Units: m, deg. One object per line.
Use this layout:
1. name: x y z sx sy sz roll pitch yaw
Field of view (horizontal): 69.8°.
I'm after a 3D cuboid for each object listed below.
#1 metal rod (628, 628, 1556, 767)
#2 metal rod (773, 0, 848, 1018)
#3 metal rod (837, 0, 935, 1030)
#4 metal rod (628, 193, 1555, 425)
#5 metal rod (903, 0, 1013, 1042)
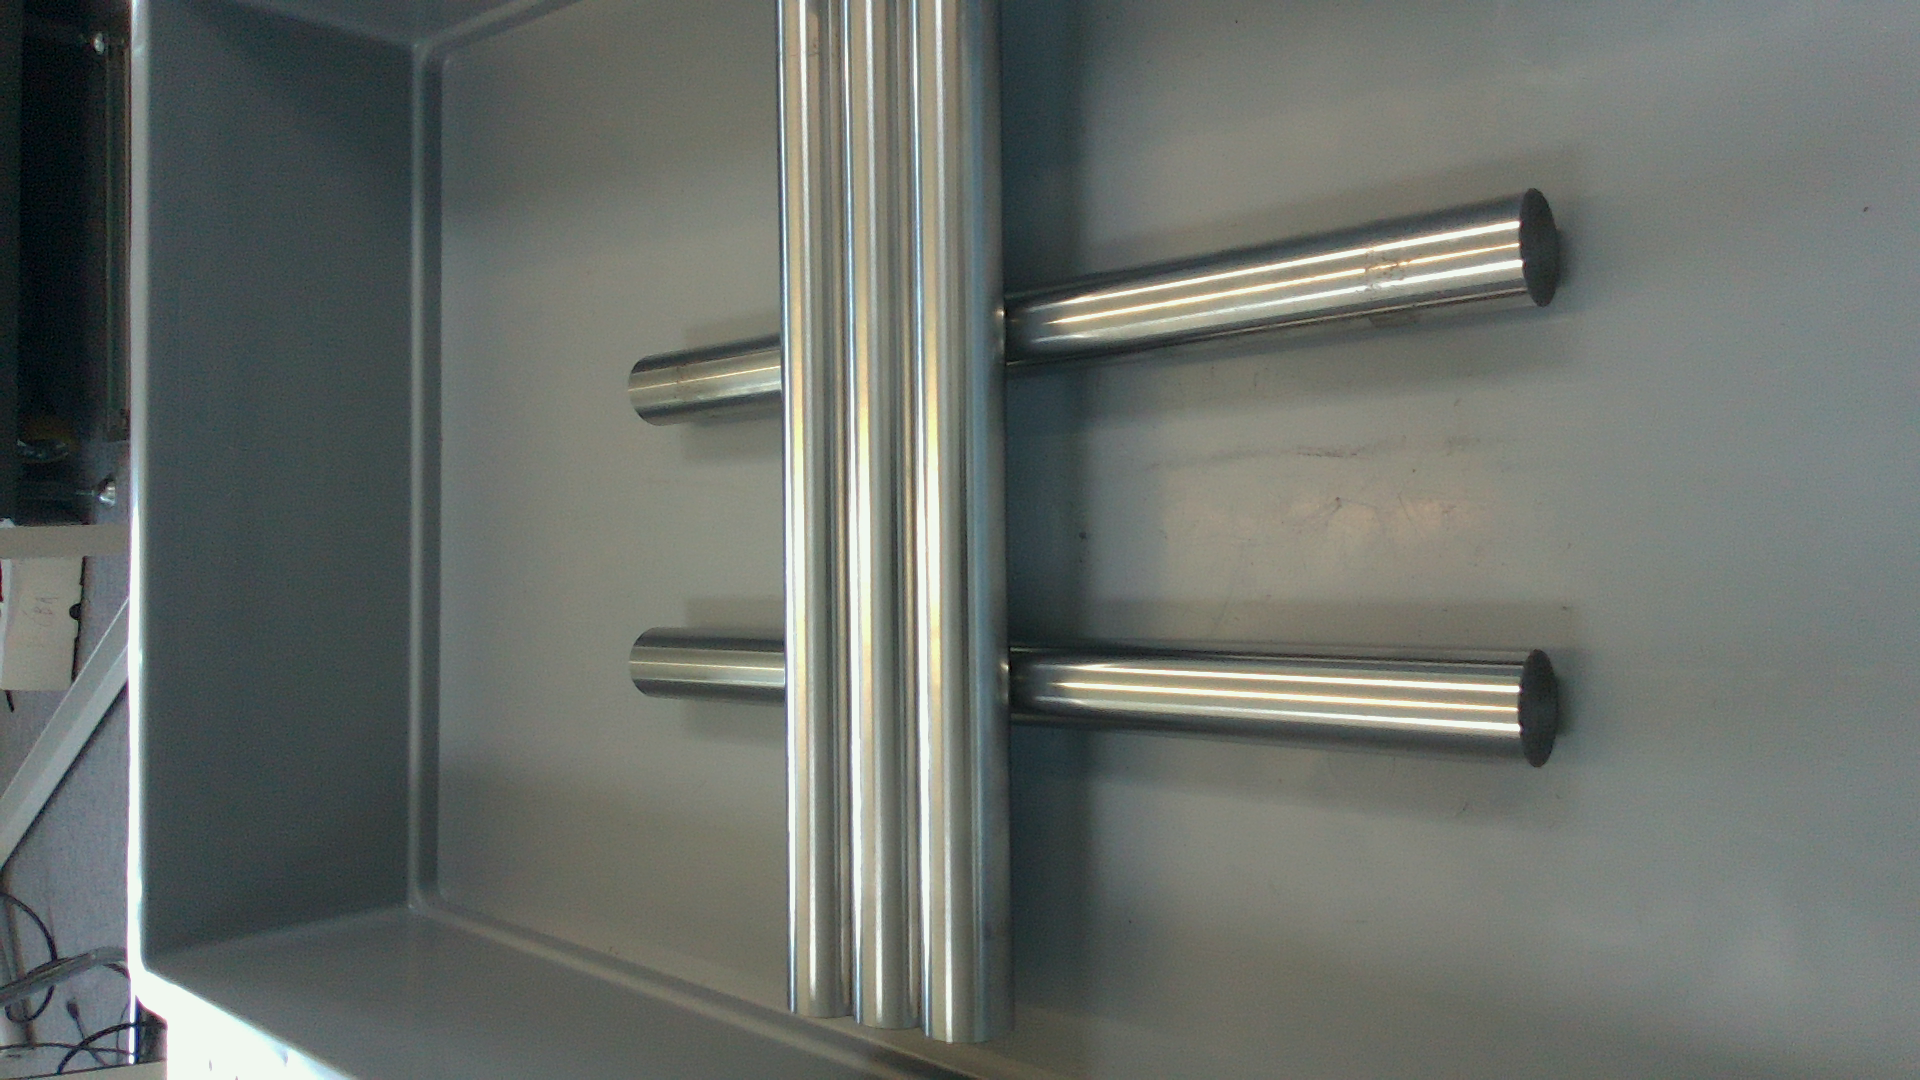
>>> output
1. metal rod: 0.008 0.039 0.387 0.299 0.025 0.025 -2 89 40
2. metal rod: -0.039 -0.018 0.392 0.025 0.025 0.300 -1 89 40
3. metal rod: -0.019 -0.021 0.376 0.025 0.025 0.300 -1 89 40
4. metal rod: 0.008 -0.057 0.387 0.299 0.025 0.025 -2 89 40
5. metal rod: -0.001 -0.023 0.360 0.025 0.025 0.300 -1 89 40
